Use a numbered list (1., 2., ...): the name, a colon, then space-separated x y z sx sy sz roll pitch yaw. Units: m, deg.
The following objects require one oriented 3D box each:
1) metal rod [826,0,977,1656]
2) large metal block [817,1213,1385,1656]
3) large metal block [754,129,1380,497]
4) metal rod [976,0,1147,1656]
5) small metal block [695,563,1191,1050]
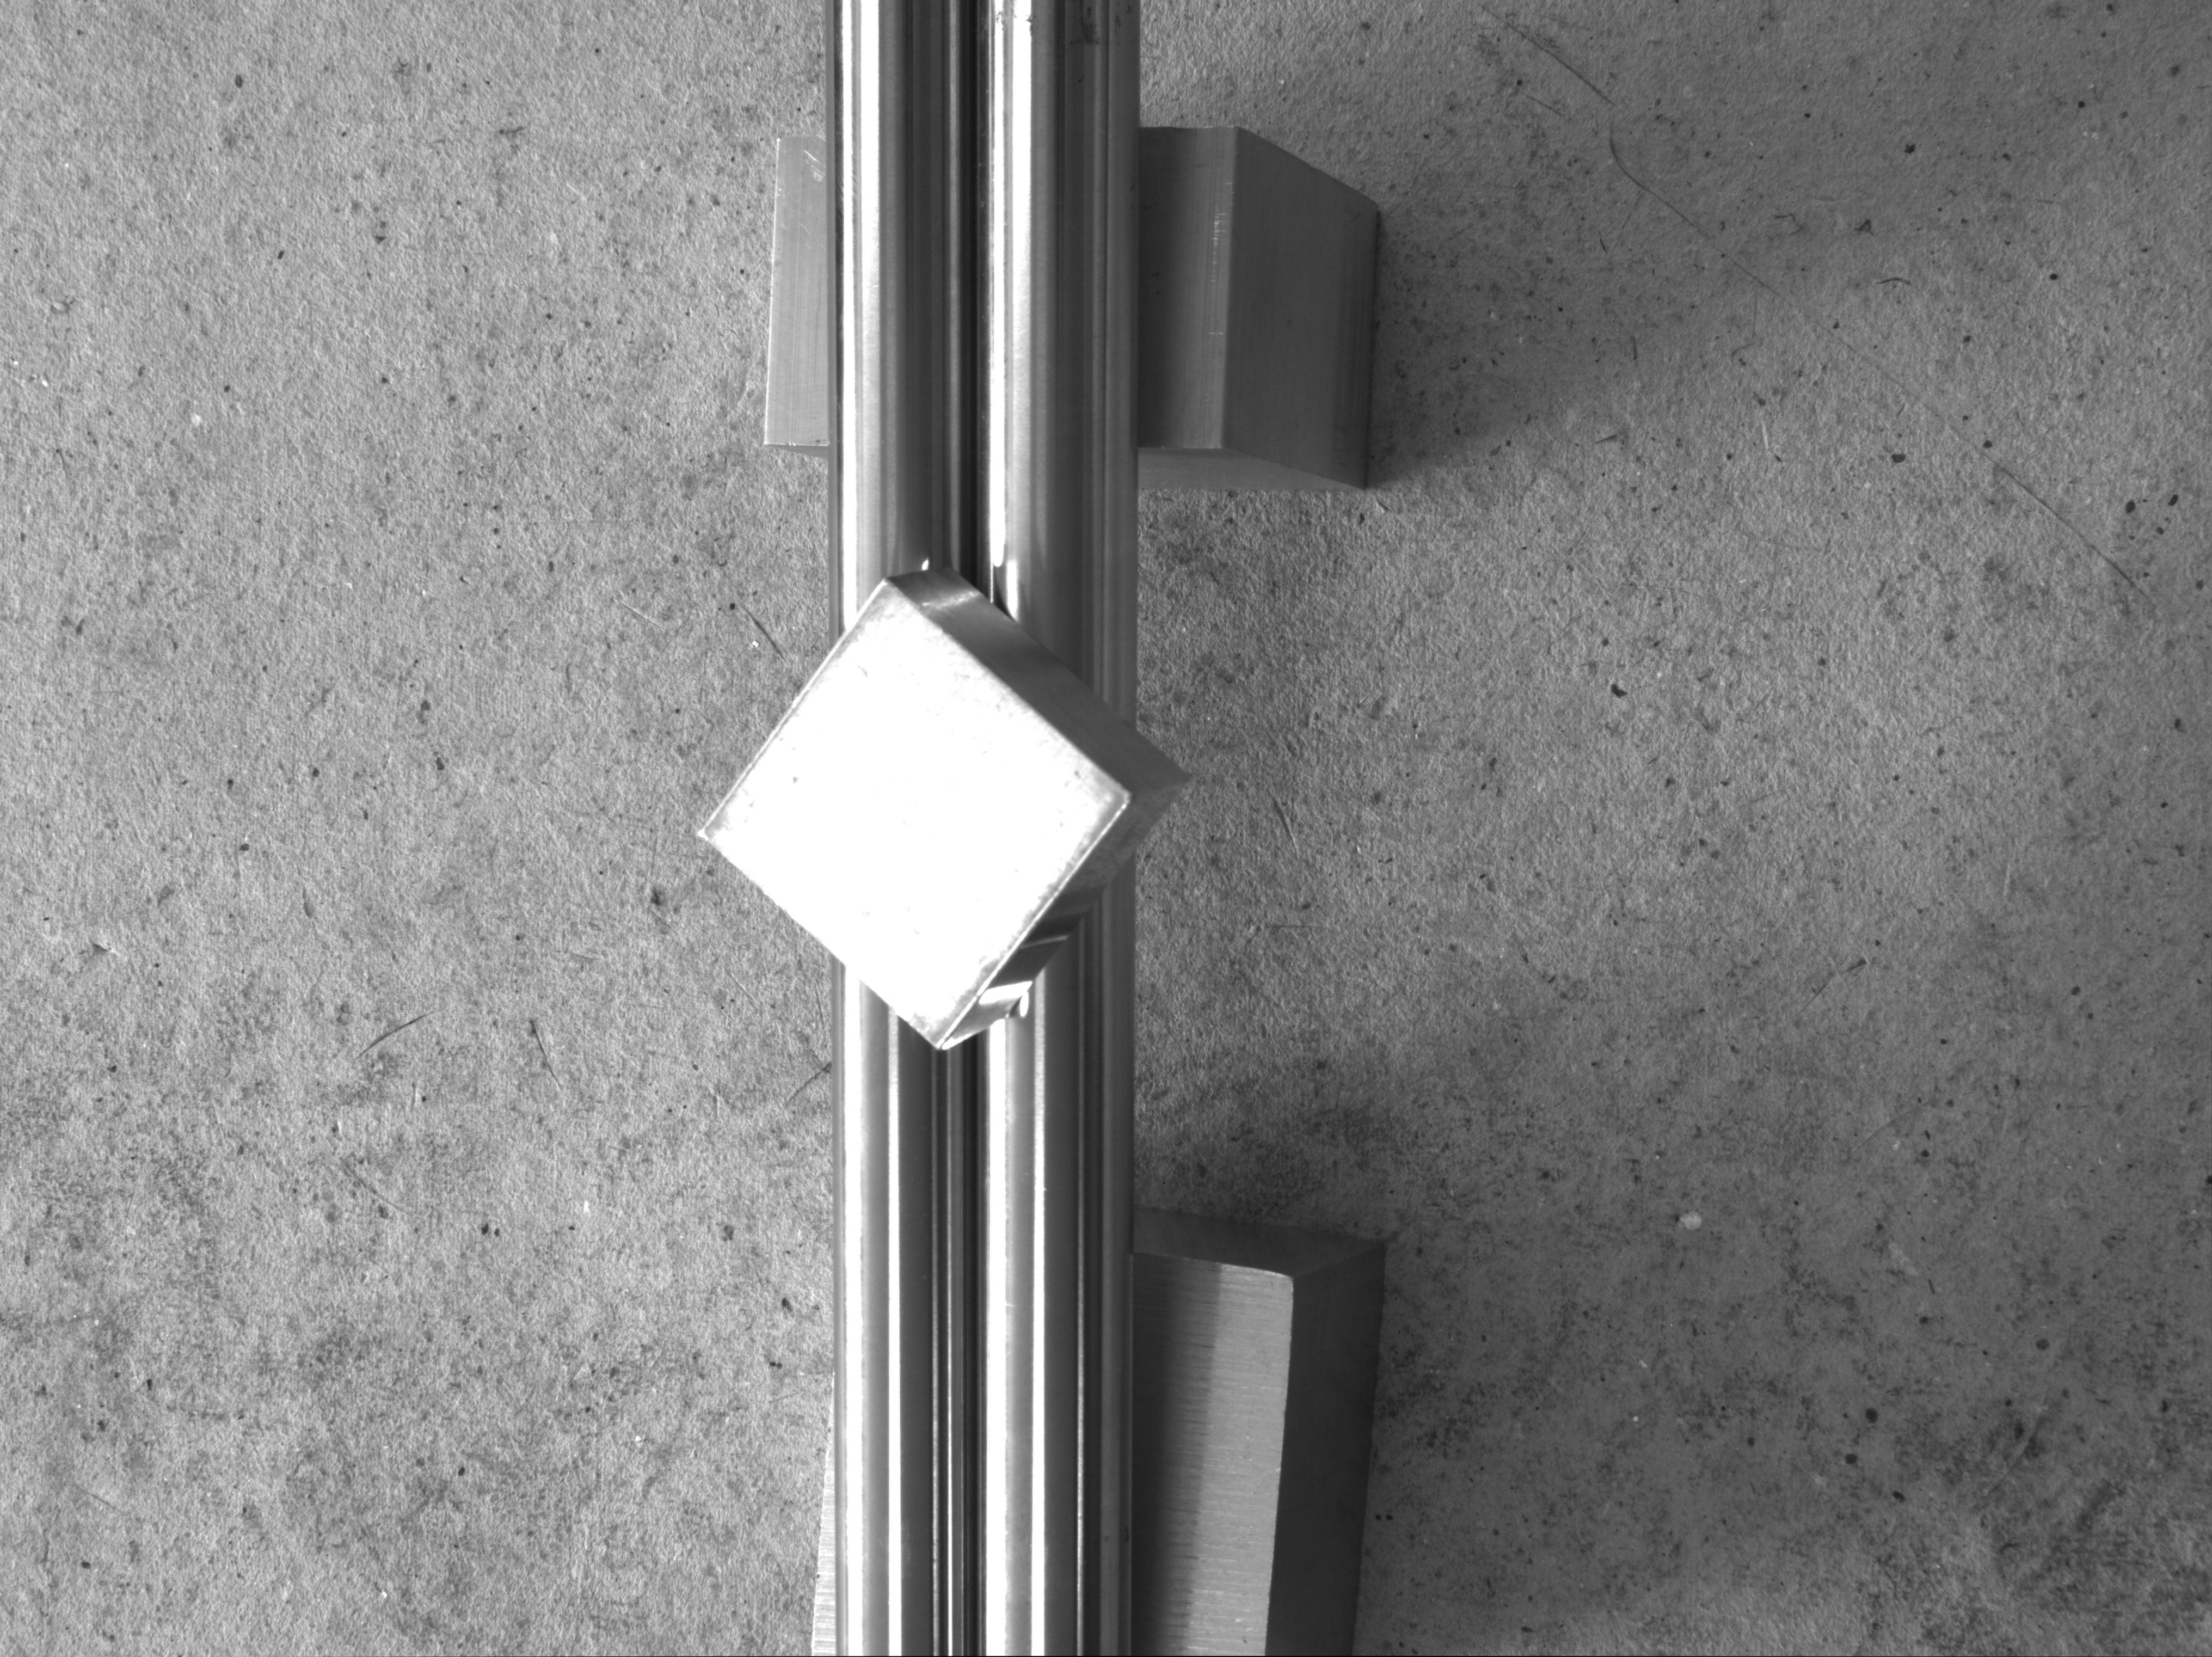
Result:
1. metal rod: -0.031 -0.005 0.581 0.025 0.025 0.300 3 98 20
2. large metal block: 0.000 0.108 0.633 0.080 0.050 0.080 5 92 20
3. large metal block: -0.004 -0.085 0.620 0.080 0.080 0.050 4 91 20
4. metal rod: -0.007 -0.004 0.572 0.025 0.025 0.300 3 98 20
5. small metal block: -0.025 -0.004 0.552 0.050 0.025 0.050 41 109 10
